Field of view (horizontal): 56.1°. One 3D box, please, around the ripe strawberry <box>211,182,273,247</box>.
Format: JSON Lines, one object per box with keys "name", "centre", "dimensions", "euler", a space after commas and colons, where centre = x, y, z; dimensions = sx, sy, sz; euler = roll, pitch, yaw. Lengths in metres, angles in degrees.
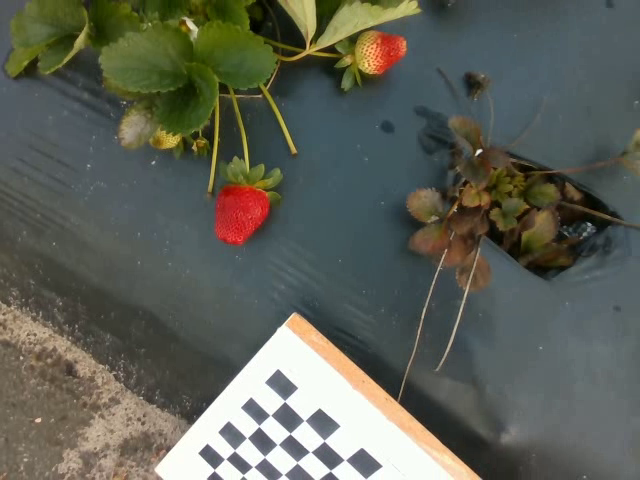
{"name": "ripe strawberry", "centre": [-0.060, -0.018, 0.439], "dimensions": [0.045, 0.055, 0.042], "euler": [-1, -39, 31]}
